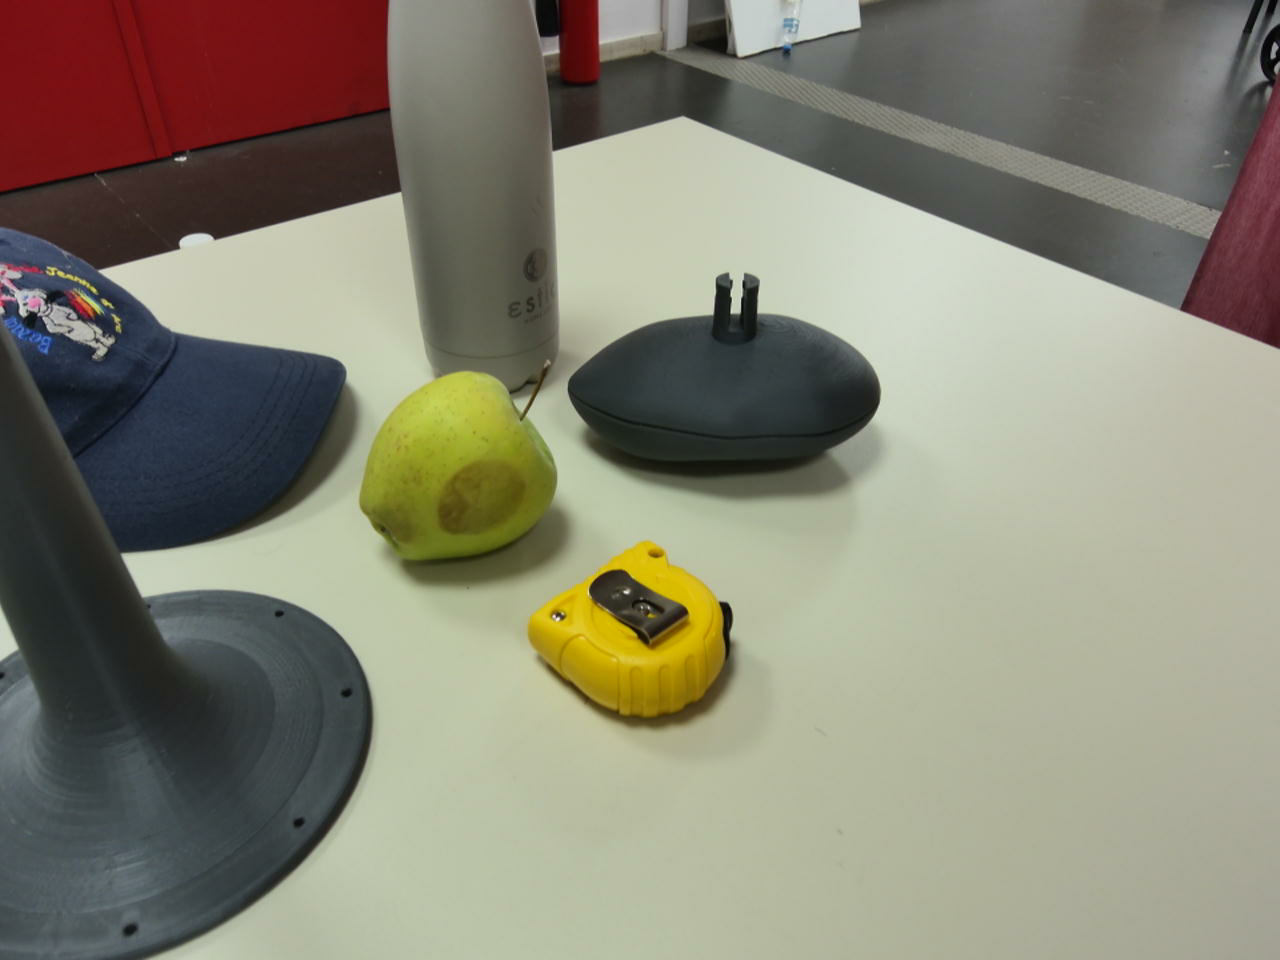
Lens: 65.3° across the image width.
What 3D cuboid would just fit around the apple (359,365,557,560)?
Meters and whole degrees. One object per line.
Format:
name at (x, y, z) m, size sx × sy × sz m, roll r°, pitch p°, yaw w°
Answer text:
apple at (-0.073, -0.007, 0.409) m, size 0.077 × 0.075 × 0.072 m, roll 4°, pitch 37°, yaw 3°
